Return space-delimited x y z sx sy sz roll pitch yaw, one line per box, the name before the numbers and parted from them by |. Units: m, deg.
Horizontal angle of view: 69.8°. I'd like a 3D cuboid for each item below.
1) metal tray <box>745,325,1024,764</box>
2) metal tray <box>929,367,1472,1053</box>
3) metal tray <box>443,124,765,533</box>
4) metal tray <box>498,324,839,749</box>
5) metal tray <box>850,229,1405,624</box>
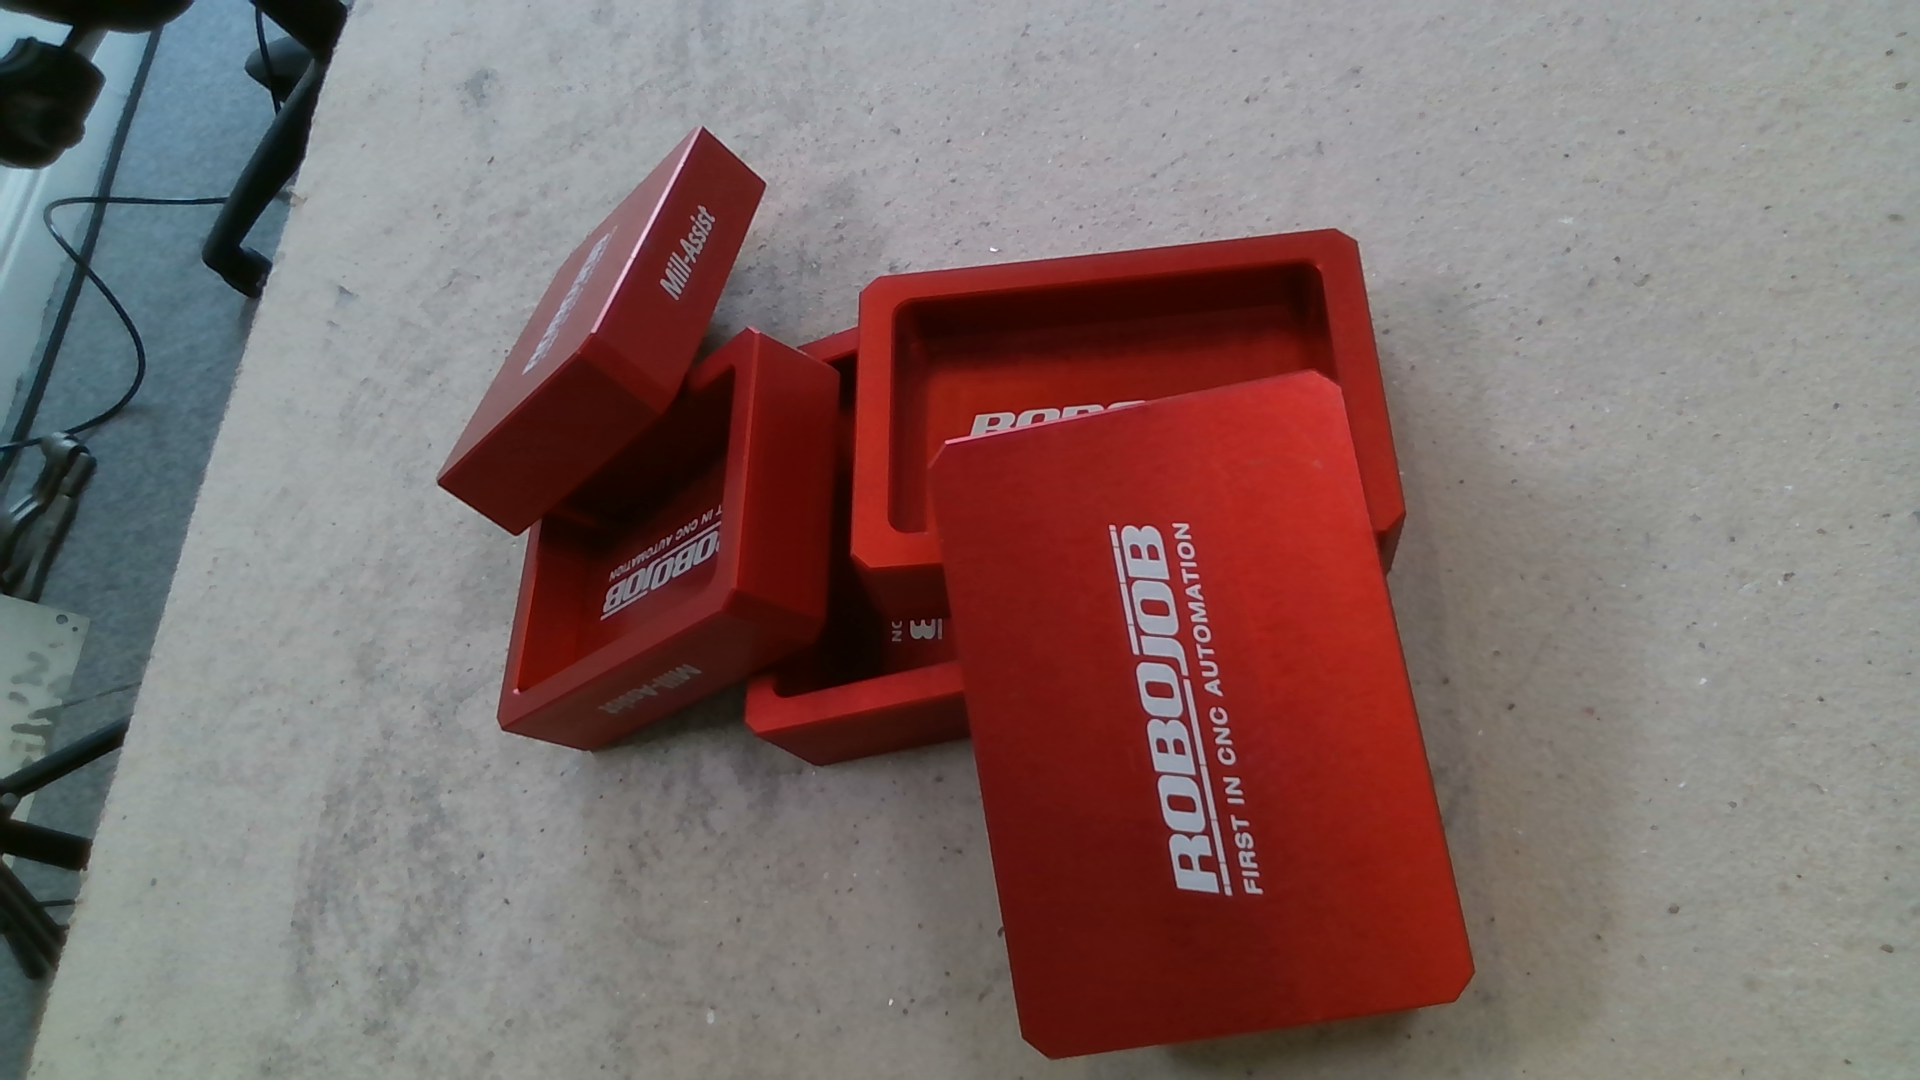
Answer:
metal tray | -0.014 -0.007 0.402 0.090 0.030 0.130 -15 59 25
metal tray | 0.049 0.036 0.299 0.090 0.030 0.130 -11 81 6
metal tray | -0.117 -0.073 0.463 0.090 0.030 0.130 -32 33 34
metal tray | -0.090 0.003 0.418 0.130 0.030 0.090 -26 52 41
metal tray | 0.040 -0.029 0.355 0.130 0.030 0.090 -5 62 7
